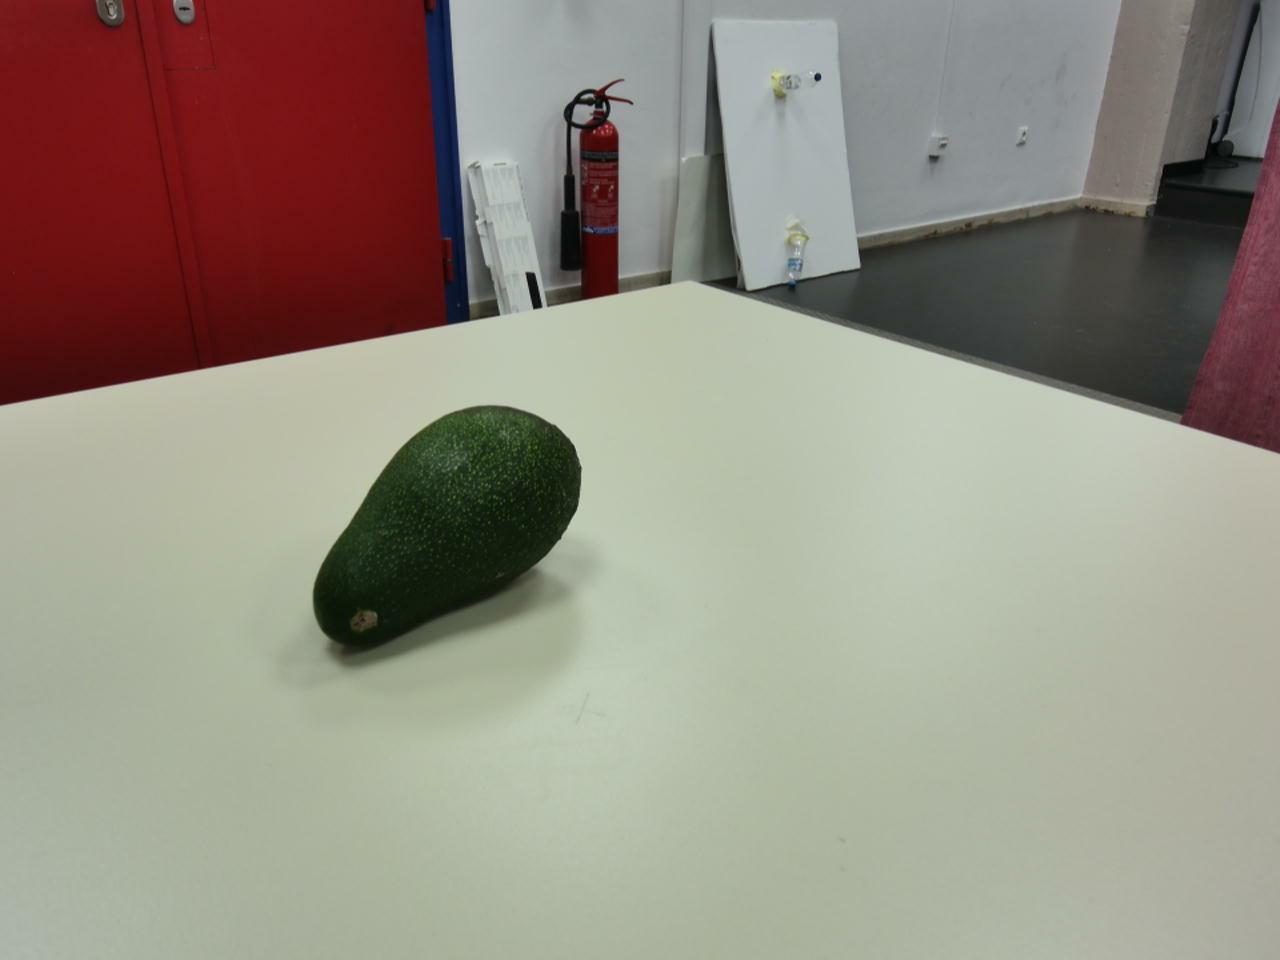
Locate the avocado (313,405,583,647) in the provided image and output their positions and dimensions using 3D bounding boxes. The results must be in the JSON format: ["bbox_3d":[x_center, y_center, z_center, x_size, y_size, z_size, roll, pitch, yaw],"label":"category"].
[{"bbox_3d":[-0.080,0.012,0.407,0.123,0.076,0.074,-14,27,-30],"label":"avocado"}]
